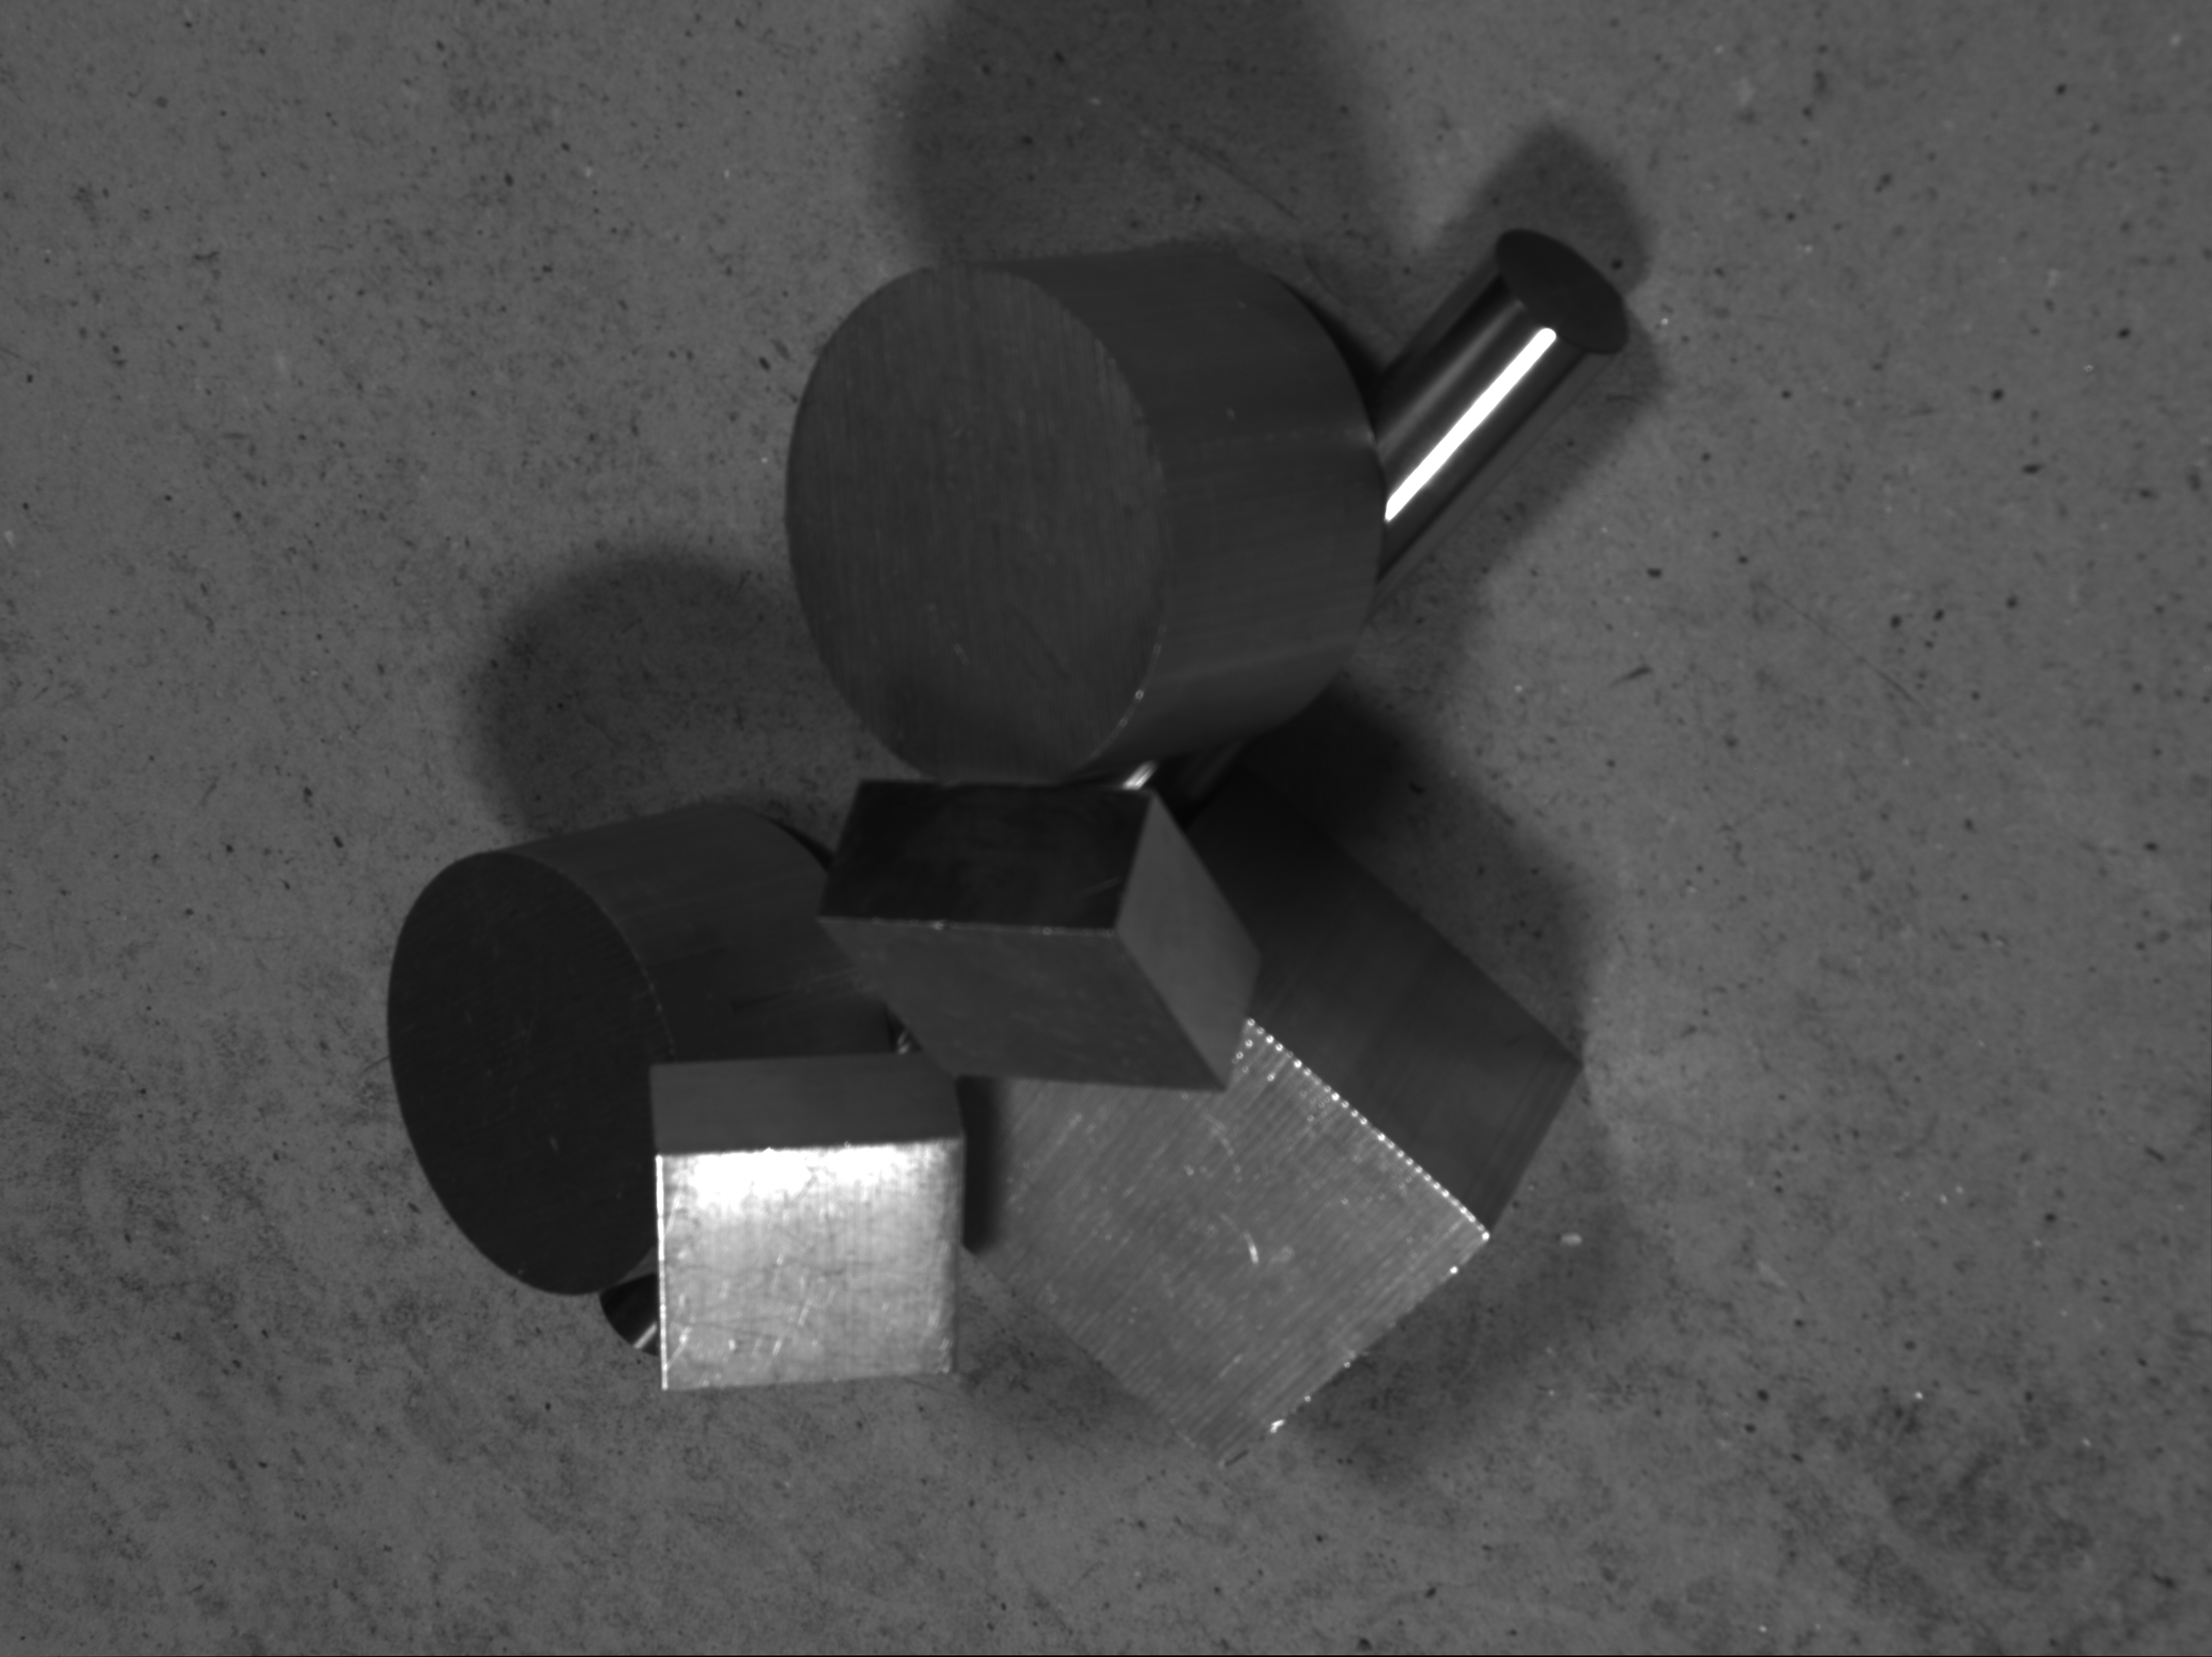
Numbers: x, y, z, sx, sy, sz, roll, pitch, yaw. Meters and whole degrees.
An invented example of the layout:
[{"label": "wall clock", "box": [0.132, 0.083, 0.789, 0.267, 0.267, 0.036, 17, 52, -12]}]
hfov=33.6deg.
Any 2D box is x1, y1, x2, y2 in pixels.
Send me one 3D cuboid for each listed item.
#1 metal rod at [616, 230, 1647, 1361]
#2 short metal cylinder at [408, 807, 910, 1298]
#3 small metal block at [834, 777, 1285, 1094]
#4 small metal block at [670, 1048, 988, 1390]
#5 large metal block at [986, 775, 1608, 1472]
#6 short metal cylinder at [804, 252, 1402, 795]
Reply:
[{"label": "metal rod", "box": [-0.008, 0.008, 0.639, 0.025, 0.025, 0.300, 41, 128, -1]}, {"label": "short metal cylinder", "box": [-0.081, 0.040, 0.662, 0.080, 0.050, 0.080, 11, 107, 41]}, {"label": "small metal block", "box": [-0.006, 0.017, 0.565, 0.050, 0.025, 0.050, 2, 150, 26]}, {"label": "small metal block", "box": [-0.047, 0.065, 0.615, 0.050, 0.025, 0.050, -3, 123, -9]}, {"label": "large metal block", "box": [0.025, 0.050, 0.631, 0.080, 0.050, 0.080, 41, 128, -1]}, {"label": "short metal cylinder", "box": [-0.001, -0.048, 0.568, 0.080, 0.050, 0.080, 11, 107, 41]}]
